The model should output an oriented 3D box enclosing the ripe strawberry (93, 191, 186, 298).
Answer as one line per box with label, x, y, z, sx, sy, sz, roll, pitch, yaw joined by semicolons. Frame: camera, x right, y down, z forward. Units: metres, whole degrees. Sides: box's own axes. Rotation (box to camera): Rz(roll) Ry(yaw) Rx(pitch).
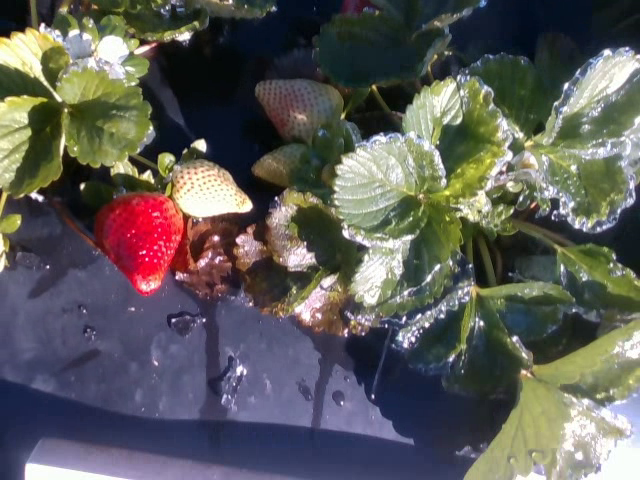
ripe strawberry;-0.074;0.004;0.261;0.040;0.053;0.042;-21;-37;7
